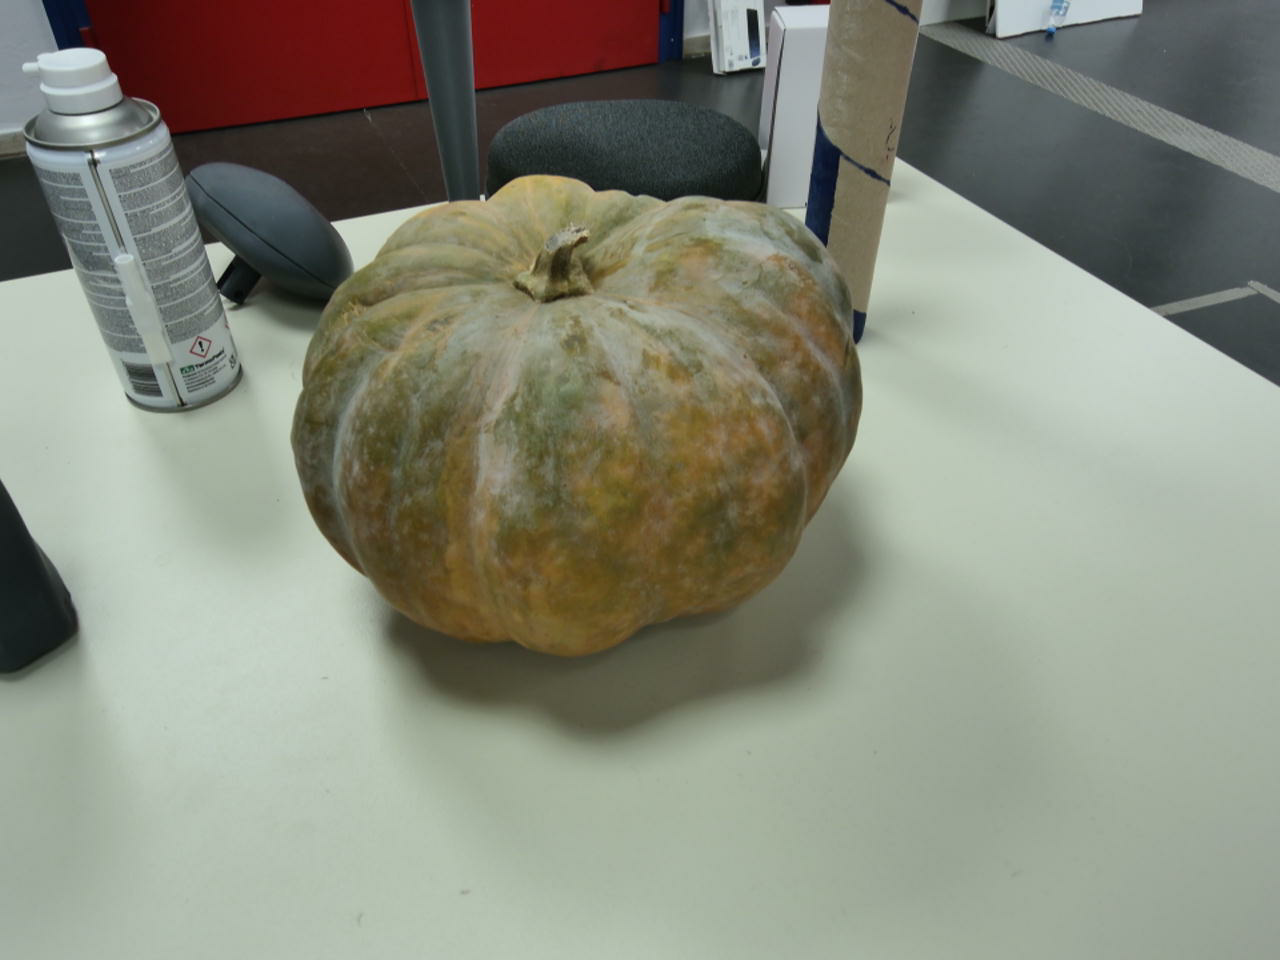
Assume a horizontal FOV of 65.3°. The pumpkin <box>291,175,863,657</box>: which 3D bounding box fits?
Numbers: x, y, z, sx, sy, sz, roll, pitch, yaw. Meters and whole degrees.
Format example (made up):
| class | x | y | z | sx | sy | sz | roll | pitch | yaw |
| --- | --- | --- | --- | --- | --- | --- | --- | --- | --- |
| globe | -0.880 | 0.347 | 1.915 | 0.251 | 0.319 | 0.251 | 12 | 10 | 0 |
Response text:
| class | x | y | z | sx | sy | sz | roll | pitch | yaw |
| --- | --- | --- | --- | --- | --- | --- | --- | --- | --- |
| pumpkin | -0.030 | -0.035 | 0.449 | 0.252 | 0.169 | 0.251 | 0 | 39 | 0 |
